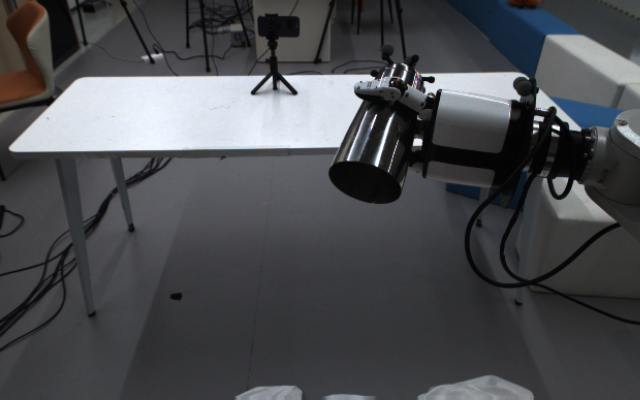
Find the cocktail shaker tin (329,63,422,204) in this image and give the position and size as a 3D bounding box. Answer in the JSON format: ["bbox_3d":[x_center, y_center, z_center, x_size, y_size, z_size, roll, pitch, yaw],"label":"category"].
[{"bbox_3d":[0.082,-0.091,0.616,0.093,0.093,0.170,14,63,16],"label":"cocktail shaker tin"}]
